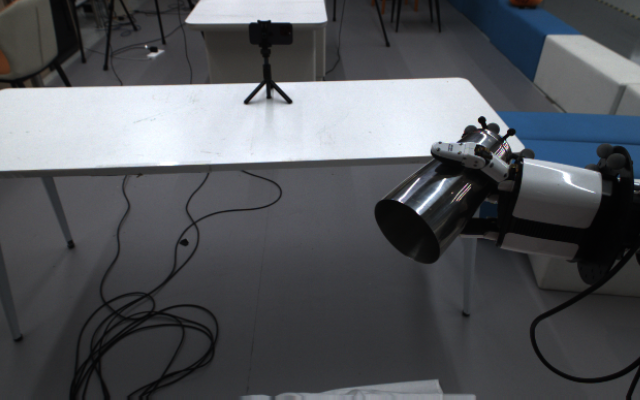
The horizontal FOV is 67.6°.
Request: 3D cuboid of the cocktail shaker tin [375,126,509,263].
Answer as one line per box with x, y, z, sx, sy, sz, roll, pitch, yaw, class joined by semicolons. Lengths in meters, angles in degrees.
0.156;-0.018;0.578;0.170;0.093;0.093;-38;50;-24;cocktail shaker tin
